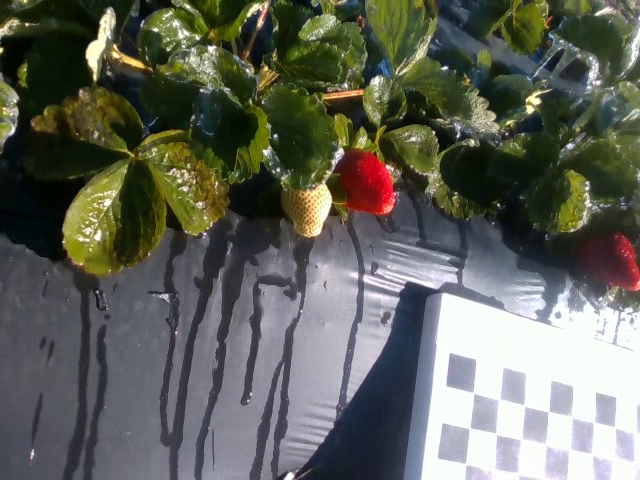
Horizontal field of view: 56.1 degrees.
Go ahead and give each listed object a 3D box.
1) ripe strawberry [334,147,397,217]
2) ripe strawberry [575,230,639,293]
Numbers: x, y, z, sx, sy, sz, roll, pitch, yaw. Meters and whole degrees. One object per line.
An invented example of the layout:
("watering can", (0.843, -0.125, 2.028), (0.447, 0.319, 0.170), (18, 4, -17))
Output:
("ripe strawberry", (0.032, -0.031, 0.401), (0.042, 0.046, 0.061), (2, 36, -24))
("ripe strawberry", (0.241, 0.019, 0.480), (0.048, 0.061, 0.044), (10, -47, -23))
